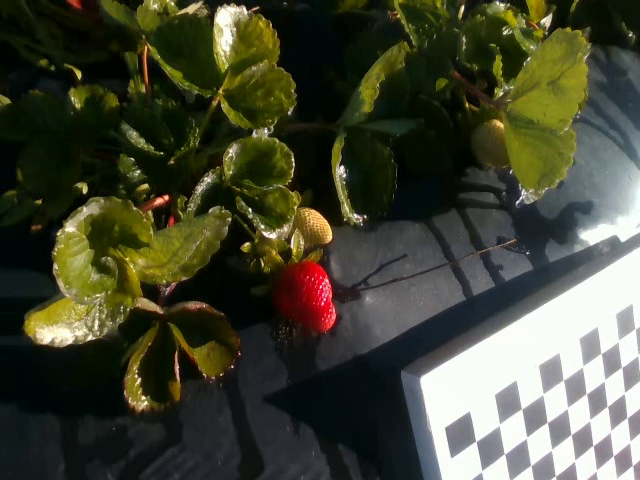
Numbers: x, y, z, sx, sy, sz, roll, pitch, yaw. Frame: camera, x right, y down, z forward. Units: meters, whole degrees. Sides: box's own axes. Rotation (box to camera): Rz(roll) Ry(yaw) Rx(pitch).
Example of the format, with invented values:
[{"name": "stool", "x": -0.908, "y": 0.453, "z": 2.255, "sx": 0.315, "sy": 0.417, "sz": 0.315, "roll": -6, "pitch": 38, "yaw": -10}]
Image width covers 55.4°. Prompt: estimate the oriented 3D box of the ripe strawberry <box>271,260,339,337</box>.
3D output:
[{"name": "ripe strawberry", "x": -0.002, "y": 0.030, "z": 0.290, "sx": 0.039, "sy": 0.040, "sz": 0.039, "roll": -28, "pitch": 45, "yaw": -15}]
